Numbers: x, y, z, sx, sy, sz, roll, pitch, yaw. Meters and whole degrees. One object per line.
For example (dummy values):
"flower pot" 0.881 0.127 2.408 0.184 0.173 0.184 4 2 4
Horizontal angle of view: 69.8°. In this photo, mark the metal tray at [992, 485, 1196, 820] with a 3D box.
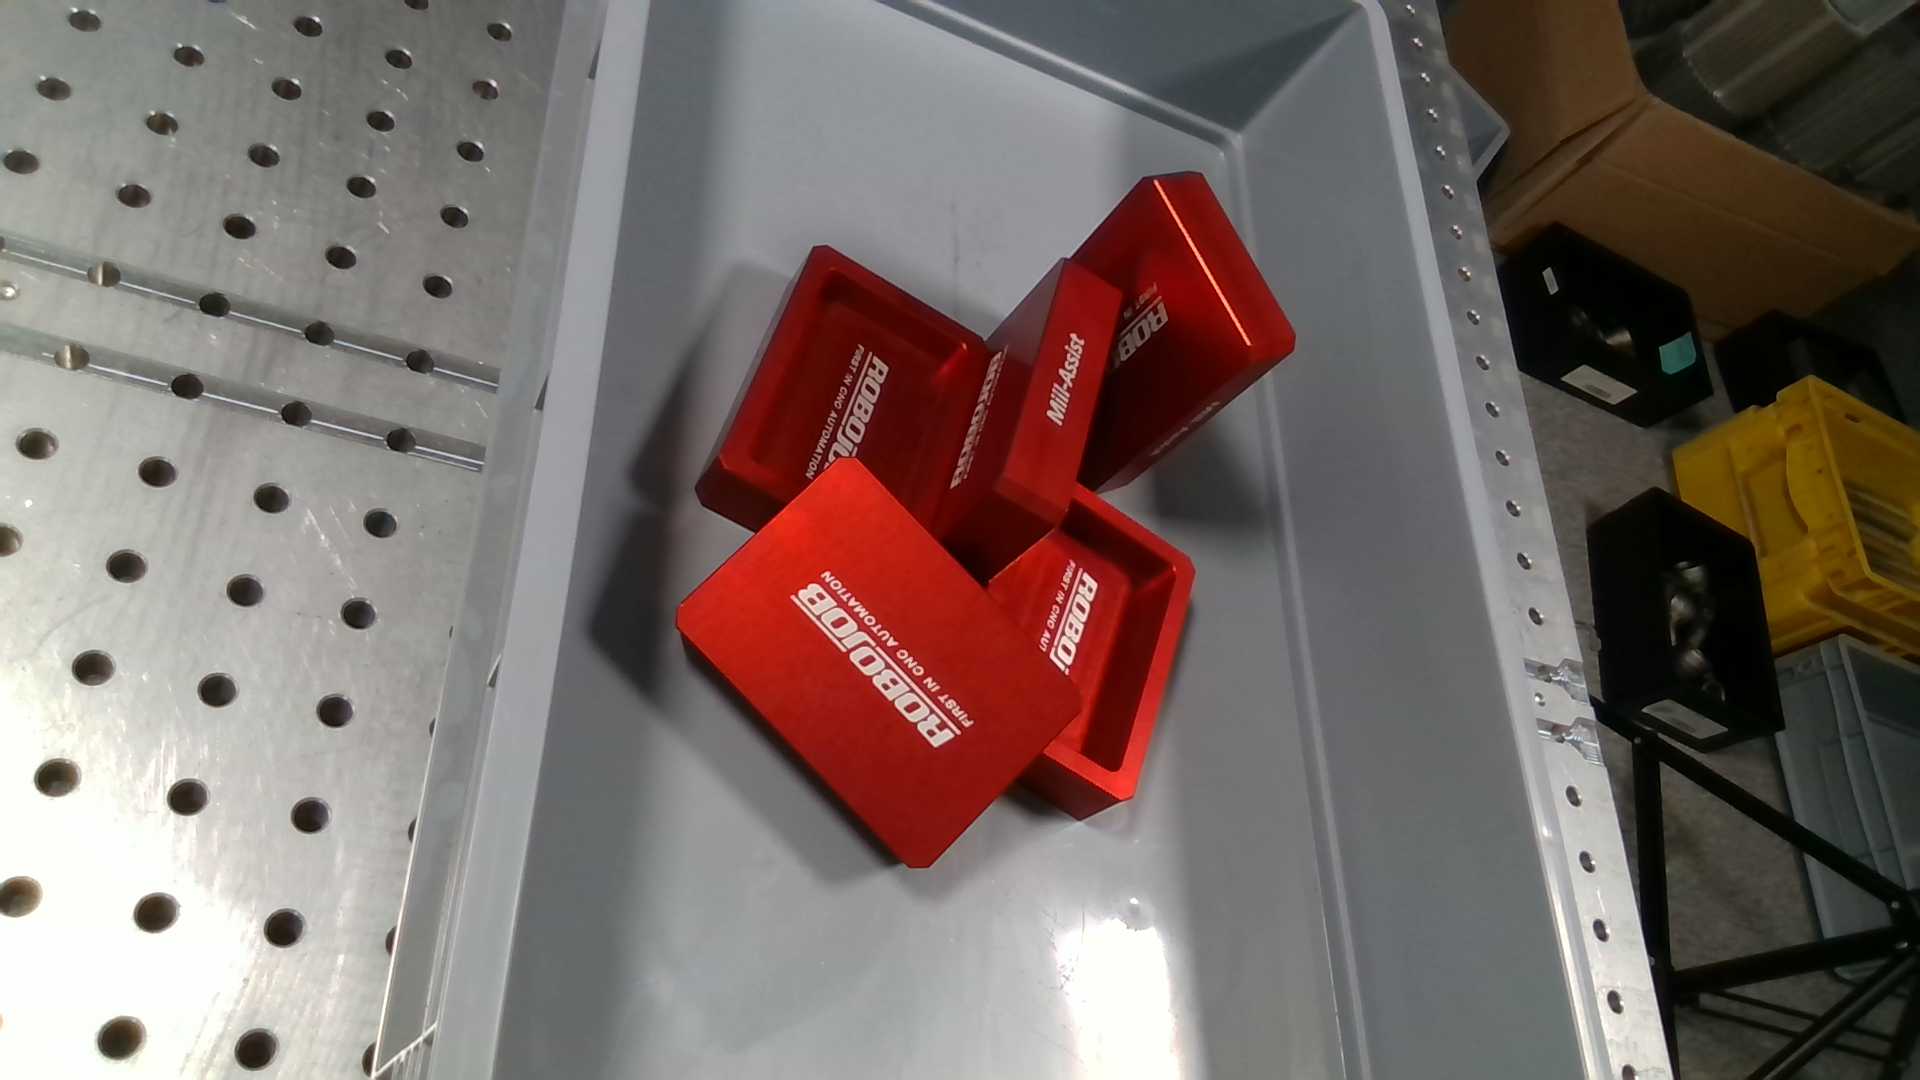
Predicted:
"metal tray" 0.044 0.041 0.587 0.090 0.030 0.130 33 53 -13

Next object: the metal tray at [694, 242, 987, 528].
"metal tray" -0.046 -0.054 0.580 0.090 0.030 0.130 28 54 -16

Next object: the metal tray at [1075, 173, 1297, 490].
"metal tray" 0.078 -0.088 0.611 0.030 0.130 0.090 -18 75 -37

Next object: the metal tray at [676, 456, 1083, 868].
"metal tray" -0.030 0.045 0.513 0.090 0.030 0.130 -44 92 -11

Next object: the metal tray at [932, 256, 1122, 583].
"metal tray" 0.021 -0.046 0.579 0.030 0.090 0.130 28 54 -16
